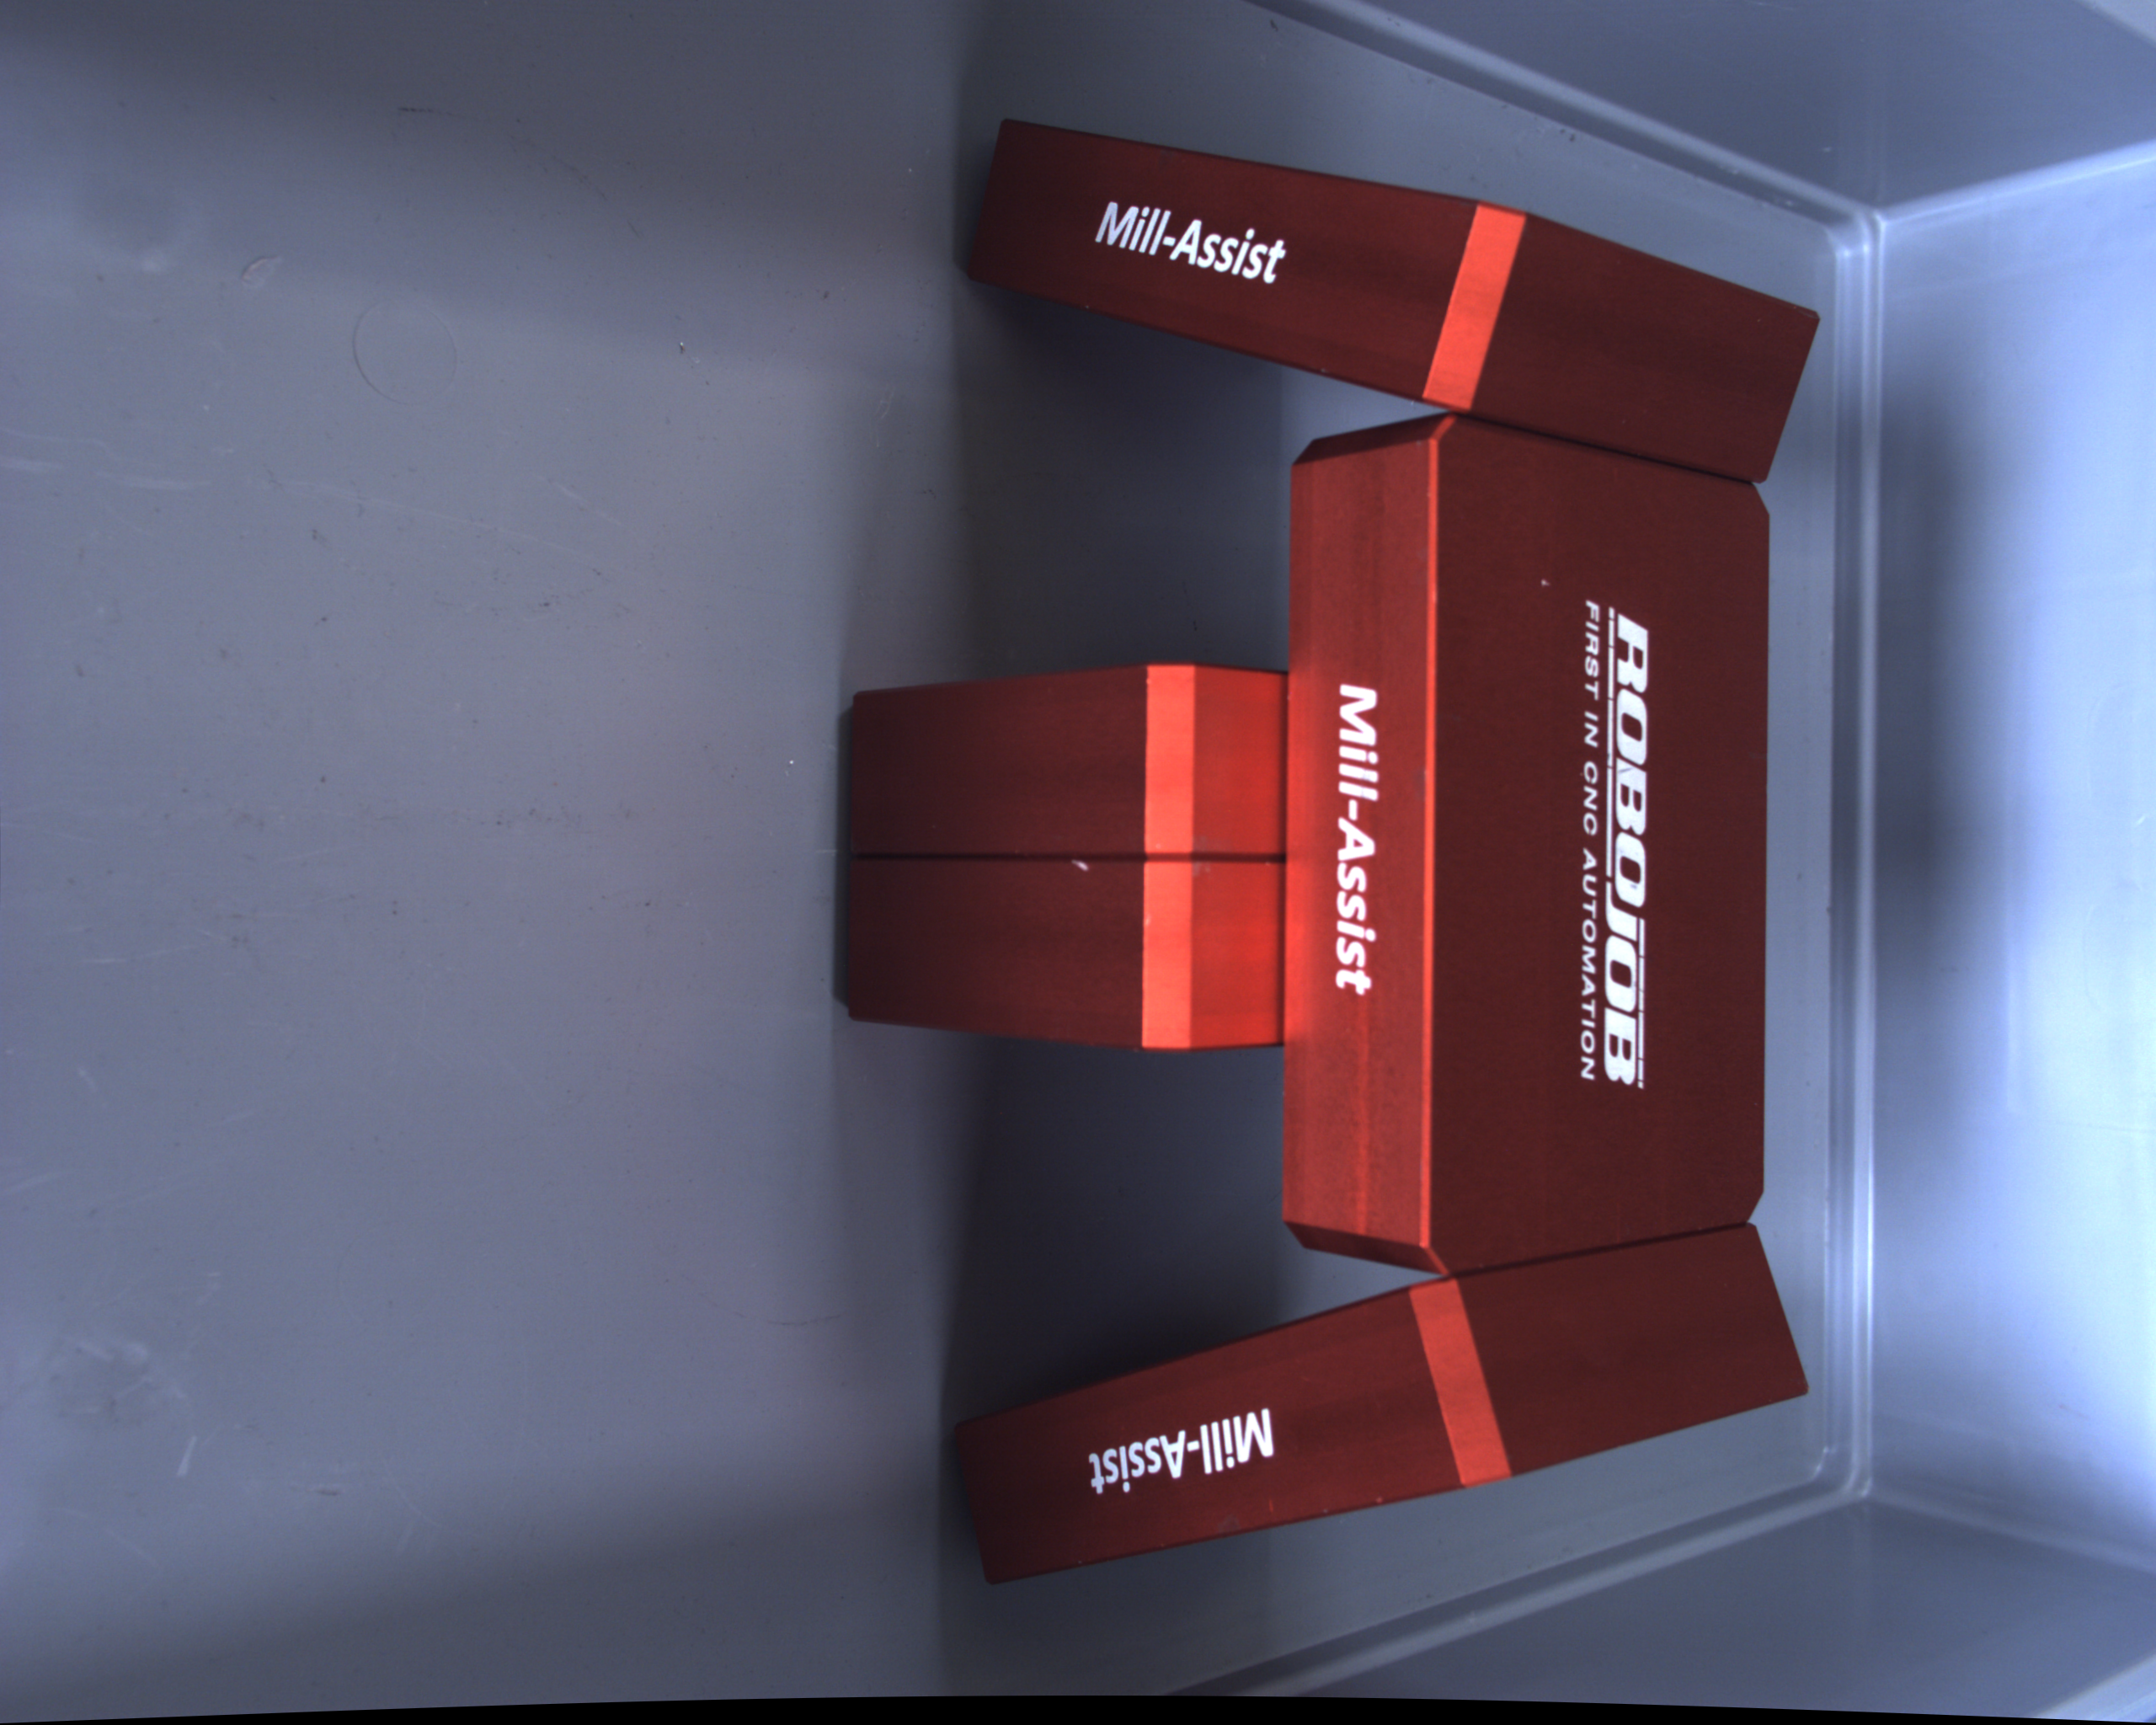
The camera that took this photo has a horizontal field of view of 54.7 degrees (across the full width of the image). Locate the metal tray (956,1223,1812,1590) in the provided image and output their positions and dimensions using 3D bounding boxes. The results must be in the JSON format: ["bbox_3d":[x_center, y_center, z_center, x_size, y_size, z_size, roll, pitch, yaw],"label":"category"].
[{"bbox_3d":[0.051,0.099,0.378,0.091,0.130,0.030,1,68,-41],"label":"metal tray"}]

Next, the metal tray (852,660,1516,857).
[{"bbox_3d":[0.035,-0.016,0.392,0.131,0.090,0.030,1,90,-40],"label":"metal tray"}]

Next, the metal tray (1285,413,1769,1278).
[{"bbox_3d":[0.077,-0.002,0.348,0.091,0.030,0.129,1,89,-41],"label":"metal tray"}]

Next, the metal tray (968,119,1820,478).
[{"bbox_3d":[0.053,-0.104,0.379,0.091,0.130,0.030,1,110,-40],"label":"metal tray"}]

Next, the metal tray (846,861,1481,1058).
[{"bbox_3d":[0.034,0.016,0.392,0.131,0.090,0.030,1,90,-40],"label":"metal tray"}]
